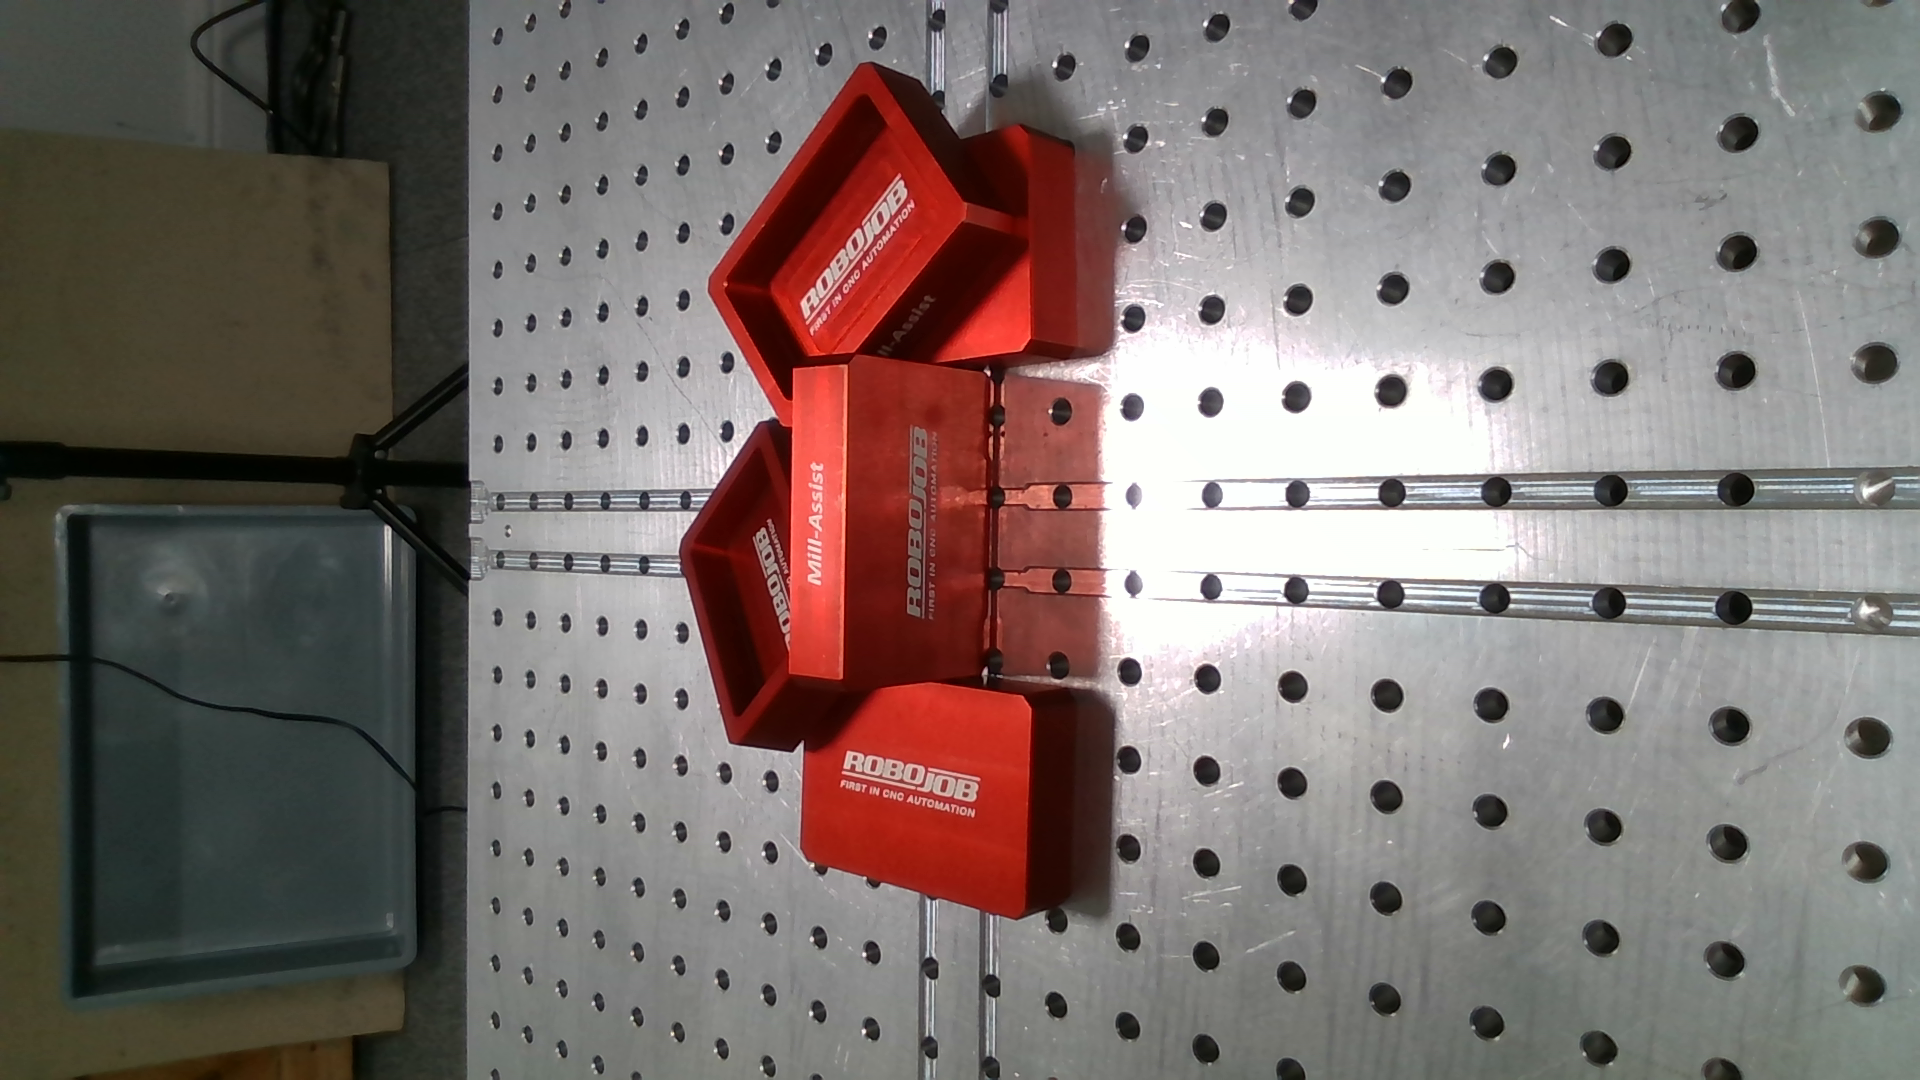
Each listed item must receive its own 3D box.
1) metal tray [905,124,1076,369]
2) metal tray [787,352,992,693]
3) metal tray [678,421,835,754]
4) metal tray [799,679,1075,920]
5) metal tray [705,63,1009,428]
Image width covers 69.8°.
[{"bbox_3d":[-0.012,-0.117,0.591,0.130,0.030,0.090,-2,89,41],"label":"metal tray"},{"bbox_3d":[-0.027,-0.007,0.564,0.030,0.090,0.130,2,92,40],"label":"metal tray"},{"bbox_3d":[-0.085,0.020,0.630,0.090,0.030,0.130,-52,43,28],"label":"metal tray"},{"bbox_3d":[-0.013,0.103,0.593,0.130,0.030,0.090,4,93,40],"label":"metal tray"},{"bbox_3d":[-0.048,-0.119,0.579,0.130,0.030,0.090,-46,63,31],"label":"metal tray"}]
